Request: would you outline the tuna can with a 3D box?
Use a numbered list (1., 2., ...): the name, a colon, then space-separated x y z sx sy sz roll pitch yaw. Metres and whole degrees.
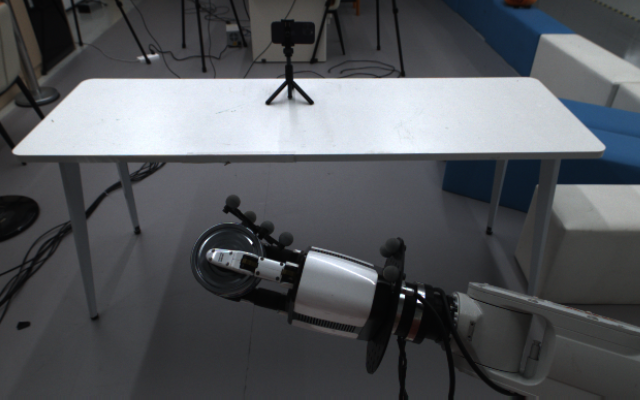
1. tuna can: -0.103 0.070 0.567 0.085 0.034 0.085 0 73 0
